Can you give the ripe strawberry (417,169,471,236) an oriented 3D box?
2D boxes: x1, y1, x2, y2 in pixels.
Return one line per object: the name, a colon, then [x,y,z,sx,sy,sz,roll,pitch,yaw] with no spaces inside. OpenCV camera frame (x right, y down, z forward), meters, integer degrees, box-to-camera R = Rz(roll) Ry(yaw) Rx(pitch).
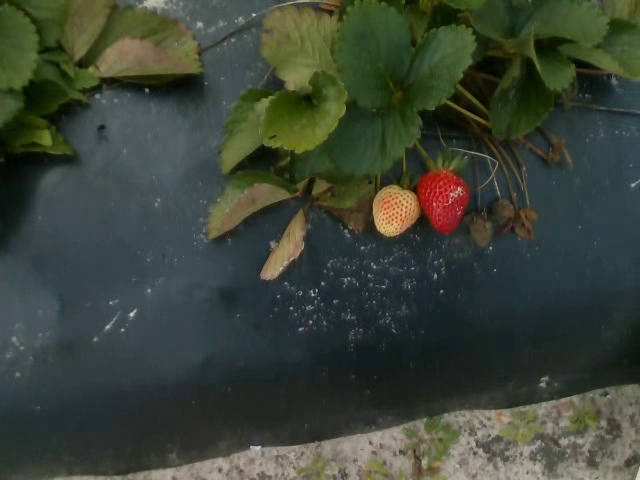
ripe strawberry: [0.070,-0.021,0.360,0.034,0.042,0.033,21,-34,-17]
